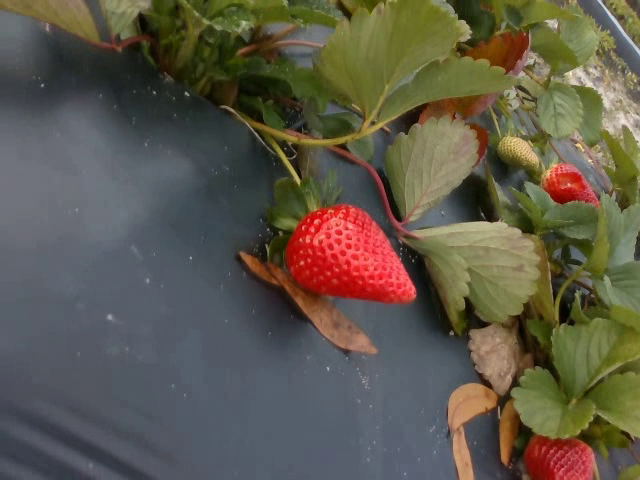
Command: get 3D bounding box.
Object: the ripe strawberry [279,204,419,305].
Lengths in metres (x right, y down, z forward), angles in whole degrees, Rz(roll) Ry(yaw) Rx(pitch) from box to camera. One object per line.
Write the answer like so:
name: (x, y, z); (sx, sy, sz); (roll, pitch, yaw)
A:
ripe strawberry: (0.017, 0.011, 0.258); (0.065, 0.047, 0.043); (31, -22, 34)
